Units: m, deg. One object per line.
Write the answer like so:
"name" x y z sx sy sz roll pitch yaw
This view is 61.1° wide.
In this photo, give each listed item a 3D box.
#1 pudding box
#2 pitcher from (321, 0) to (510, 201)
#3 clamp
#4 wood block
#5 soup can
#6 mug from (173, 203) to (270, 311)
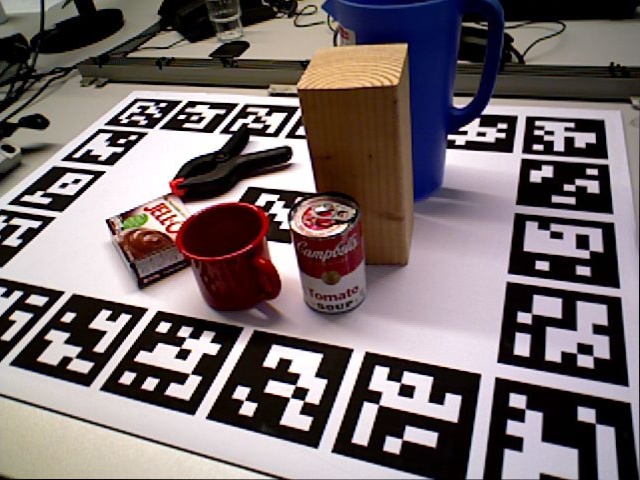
"pudding box" -0.201 -0.006 0.634 0.088 0.039 0.113 -30 43 -18
"pitcher" 0.104 -0.169 0.598 0.190 0.247 0.130 5 39 21
"clamp" -0.130 -0.100 0.740 0.162 0.037 0.122 -35 53 -26
"wood block" 0.045 -0.084 0.534 0.090 0.210 0.089 8 42 14
"soup can" 0.006 0.011 0.512 0.068 0.104 0.067 -6 42 5
"mug" -0.086 0.021 0.538 0.091 0.083 0.117 -27 41 -23
